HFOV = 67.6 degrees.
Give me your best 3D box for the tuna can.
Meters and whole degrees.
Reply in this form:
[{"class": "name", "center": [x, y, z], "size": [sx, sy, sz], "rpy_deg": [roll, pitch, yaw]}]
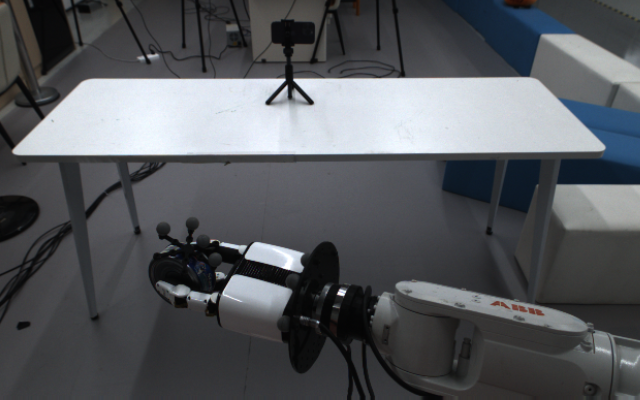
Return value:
[{"class": "tuna can", "center": [-0.182, 0.102, 0.641], "size": [0.085, 0.085, 0.034], "rpy_deg": [15, 30, 18]}]
